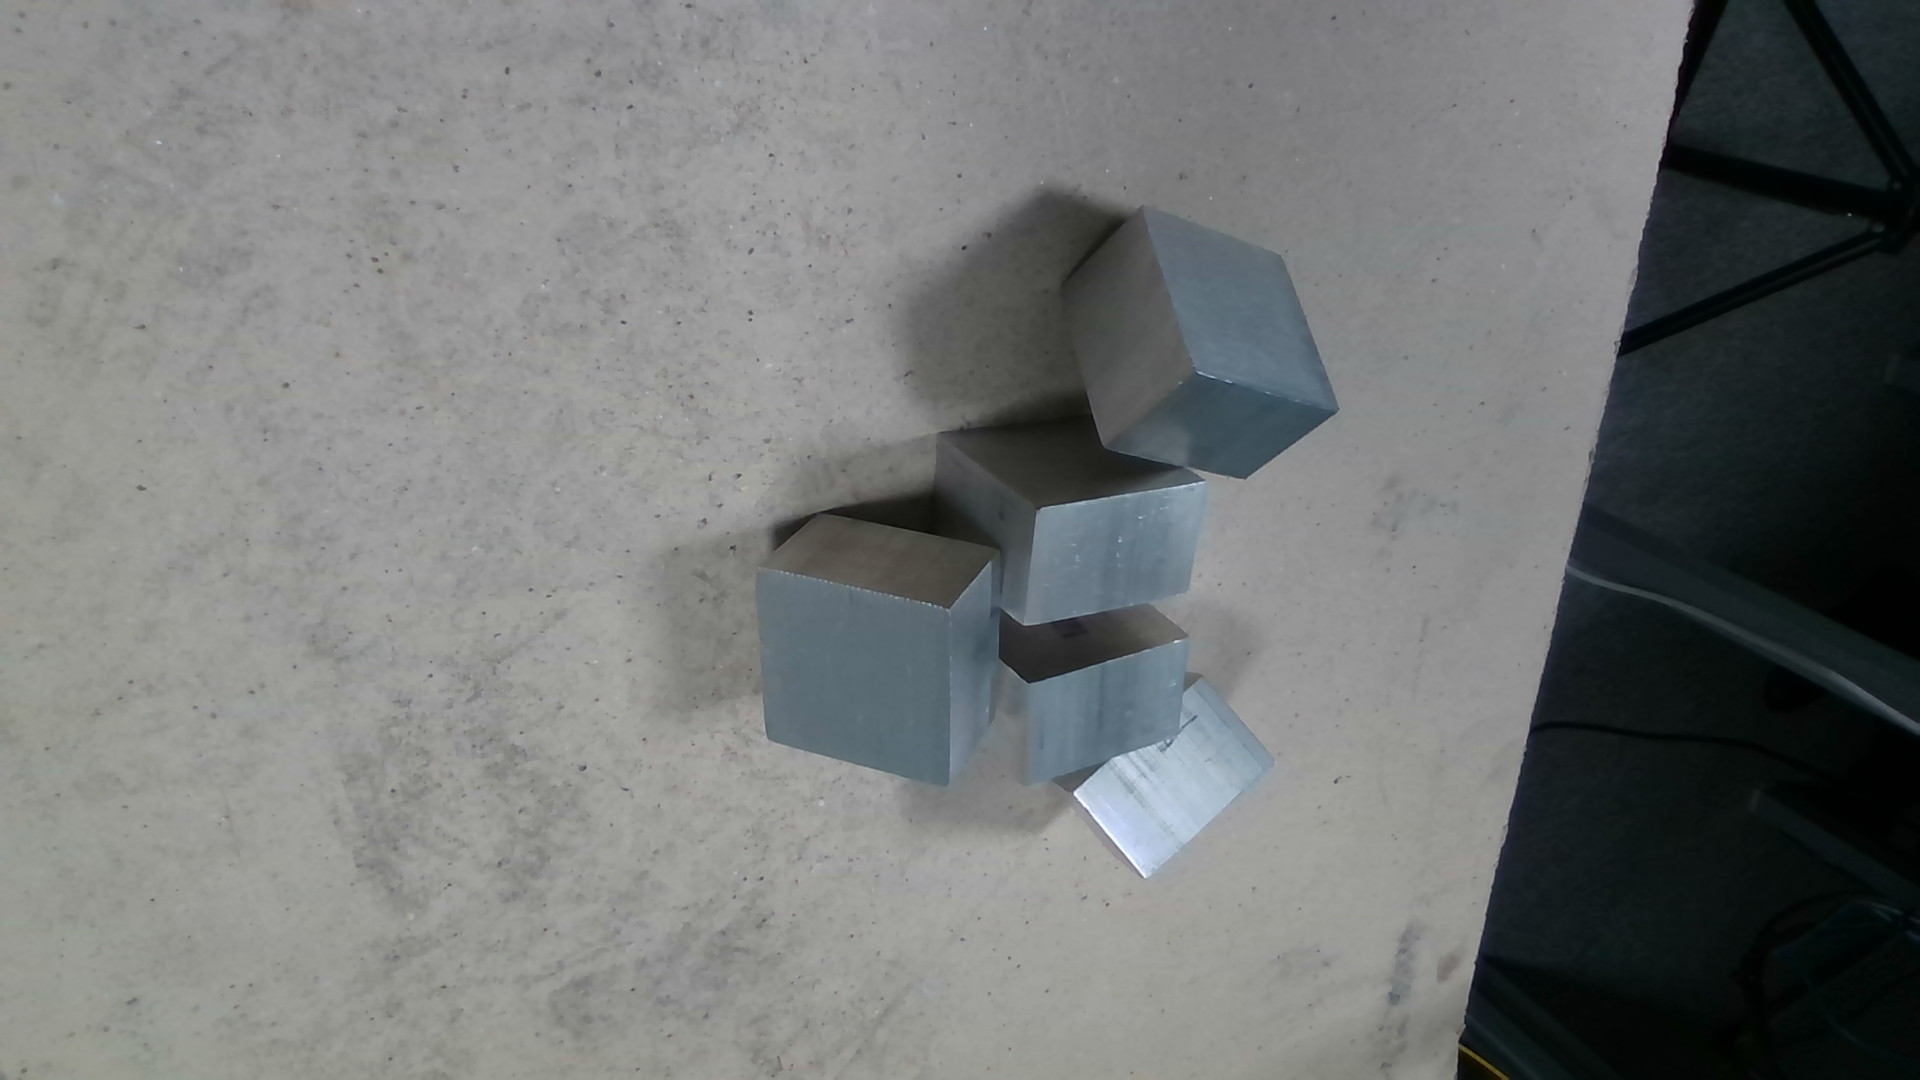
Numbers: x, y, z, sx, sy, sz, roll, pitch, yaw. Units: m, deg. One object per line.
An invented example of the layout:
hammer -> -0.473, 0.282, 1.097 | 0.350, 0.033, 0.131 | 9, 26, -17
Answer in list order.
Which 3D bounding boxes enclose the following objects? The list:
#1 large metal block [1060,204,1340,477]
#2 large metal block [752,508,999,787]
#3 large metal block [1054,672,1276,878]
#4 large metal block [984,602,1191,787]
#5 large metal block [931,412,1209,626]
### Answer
large metal block -> 0.095, -0.077, 0.550 | 0.080, 0.080, 0.050 | 9, 145, -35
large metal block -> -0.032, 0.041, 0.540 | 0.050, 0.080, 0.080 | -48, 145, -55
large metal block -> 0.091, 0.107, 0.651 | 0.080, 0.080, 0.050 | -41, 91, -7
large metal block -> 0.042, 0.054, 0.601 | 0.080, 0.080, 0.050 | -14, 121, -25
large metal block -> 0.042, -0.012, 0.565 | 0.080, 0.080, 0.050 | -10, 119, -27
